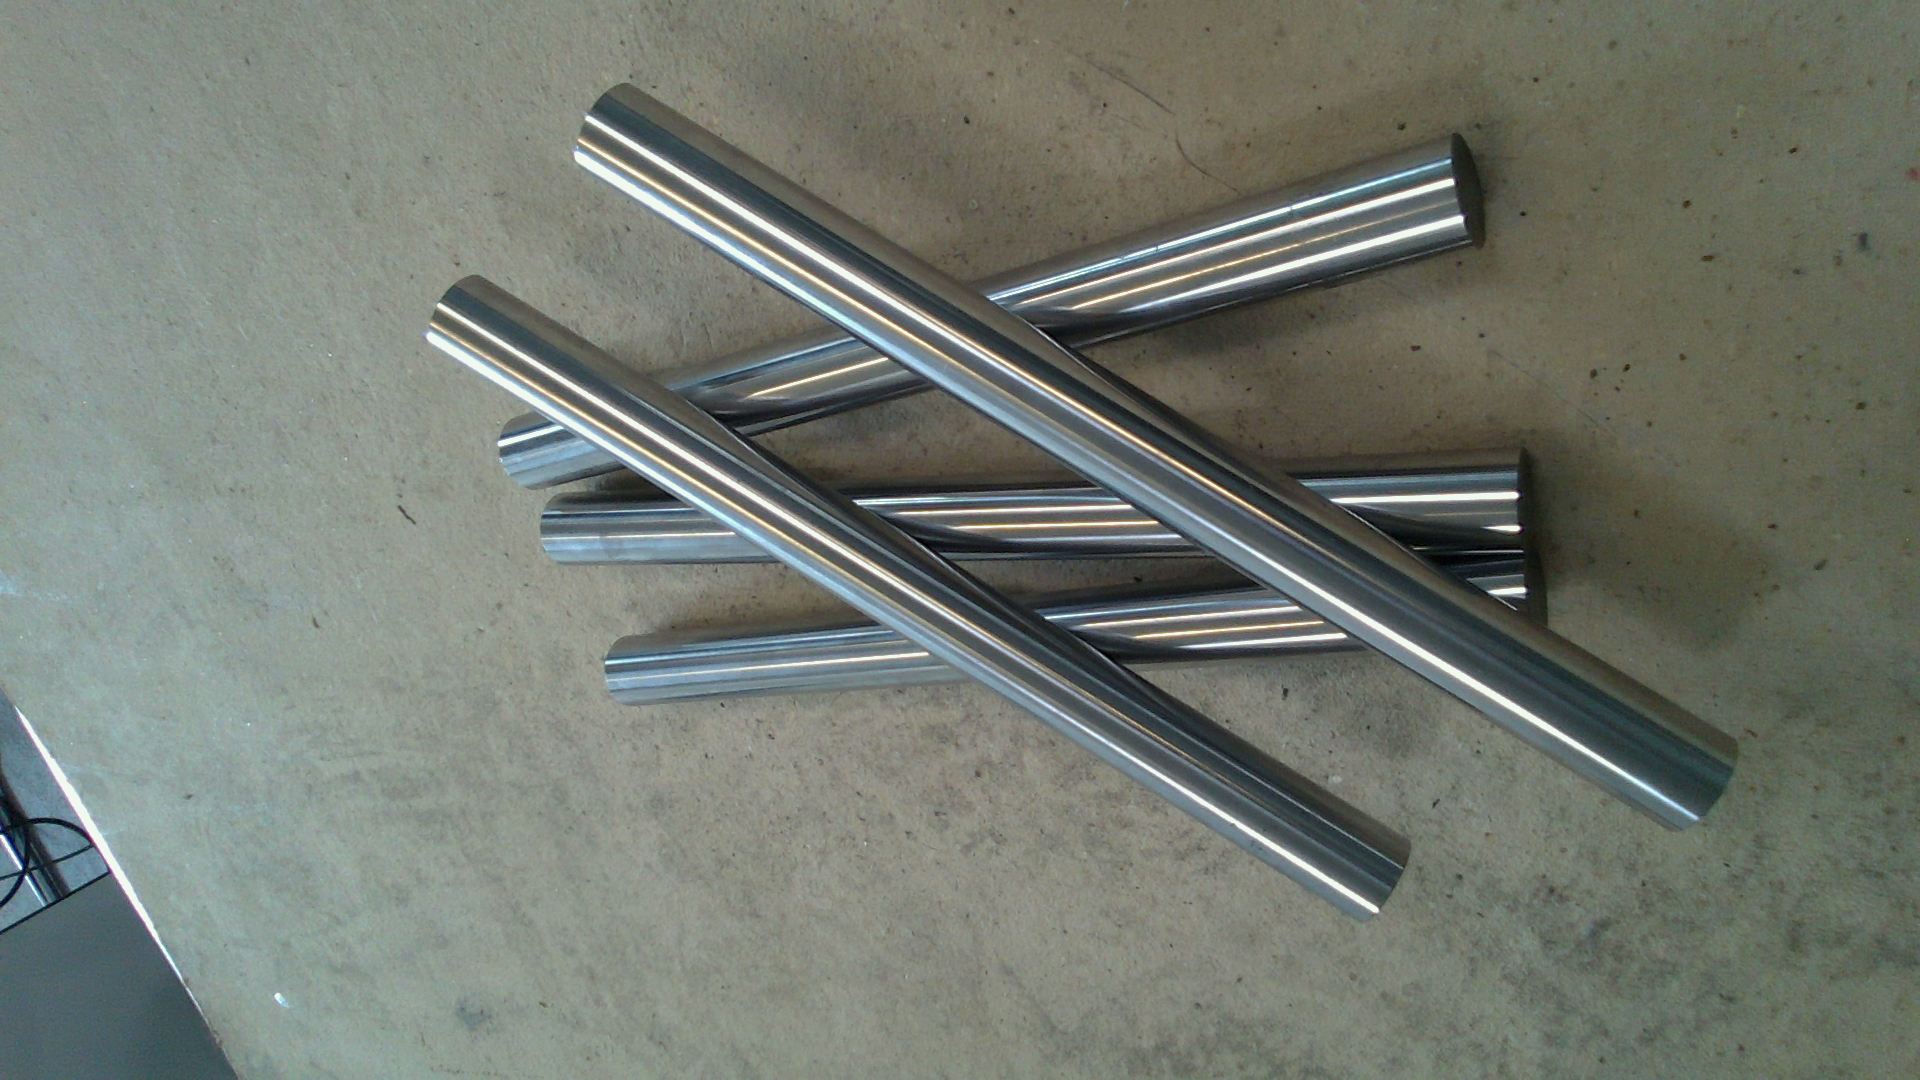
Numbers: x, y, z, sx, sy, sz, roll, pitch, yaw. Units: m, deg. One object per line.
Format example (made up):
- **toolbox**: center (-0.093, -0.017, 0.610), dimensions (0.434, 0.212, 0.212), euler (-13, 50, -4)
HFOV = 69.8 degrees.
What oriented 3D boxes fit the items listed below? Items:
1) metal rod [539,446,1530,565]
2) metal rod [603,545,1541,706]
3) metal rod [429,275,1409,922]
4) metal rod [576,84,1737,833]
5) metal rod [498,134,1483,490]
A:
- **metal rod**: center (-0.001, -0.007, 0.389), dimensions (0.299, 0.025, 0.025), euler (-1, 118, 29)
- **metal rod**: center (0.010, 0.029, 0.406), dimensions (0.299, 0.025, 0.025), euler (-8, 115, 32)
- **metal rod**: center (-0.018, 0.011, 0.377), dimensions (0.300, 0.025, 0.025), euler (31, 129, 8)
- **metal rod**: center (0.038, -0.024, 0.325), dimensions (0.300, 0.025, 0.025), euler (32, 129, 7)
- **metal rod**: center (-0.017, -0.051, 0.371), dimensions (0.299, 0.025, 0.025), euler (-10, 113, 33)
